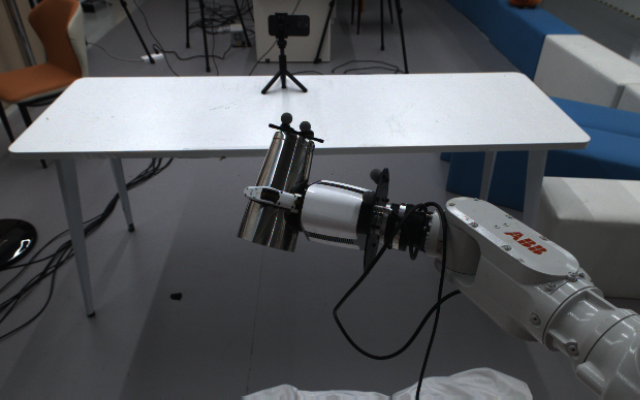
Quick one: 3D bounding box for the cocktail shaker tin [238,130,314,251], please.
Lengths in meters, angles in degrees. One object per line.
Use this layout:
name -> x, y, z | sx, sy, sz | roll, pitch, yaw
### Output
cocktail shaker tin -> -0.061, -0.015, 0.745 | 0.093, 0.170, 0.093 | 15, -4, 1
